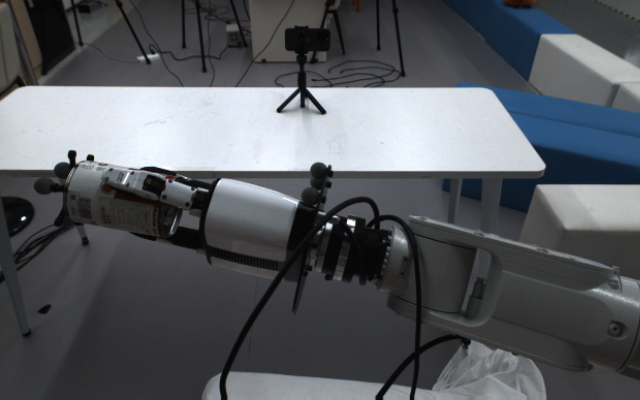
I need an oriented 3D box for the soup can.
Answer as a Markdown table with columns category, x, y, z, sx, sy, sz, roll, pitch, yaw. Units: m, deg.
| category | x | y | z | sx | sy | sz | roll | pitch | yaw |
| --- | --- | --- | --- | --- | --- | --- | --- | --- | --- |
| soup can | -0.199 | 0.000 | 0.508 | 0.101 | 0.067 | 0.067 | 10 | 35 | -1 |
